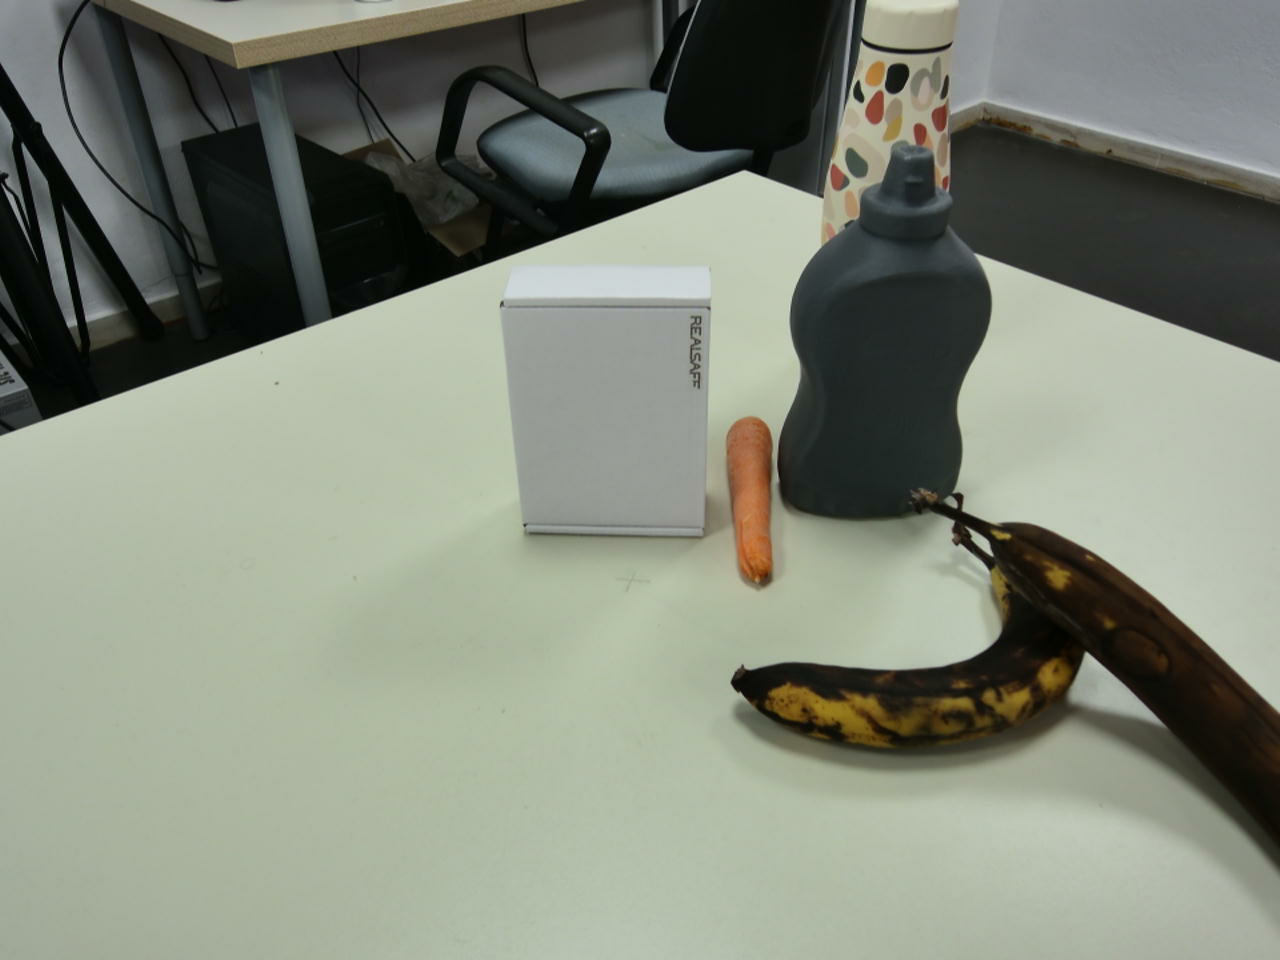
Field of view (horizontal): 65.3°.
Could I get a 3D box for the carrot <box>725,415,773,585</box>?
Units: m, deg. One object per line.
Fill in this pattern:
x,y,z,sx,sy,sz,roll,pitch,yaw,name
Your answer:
0.064,0.006,0.577,0.030,0.032,0.136,1,36,4,carrot
